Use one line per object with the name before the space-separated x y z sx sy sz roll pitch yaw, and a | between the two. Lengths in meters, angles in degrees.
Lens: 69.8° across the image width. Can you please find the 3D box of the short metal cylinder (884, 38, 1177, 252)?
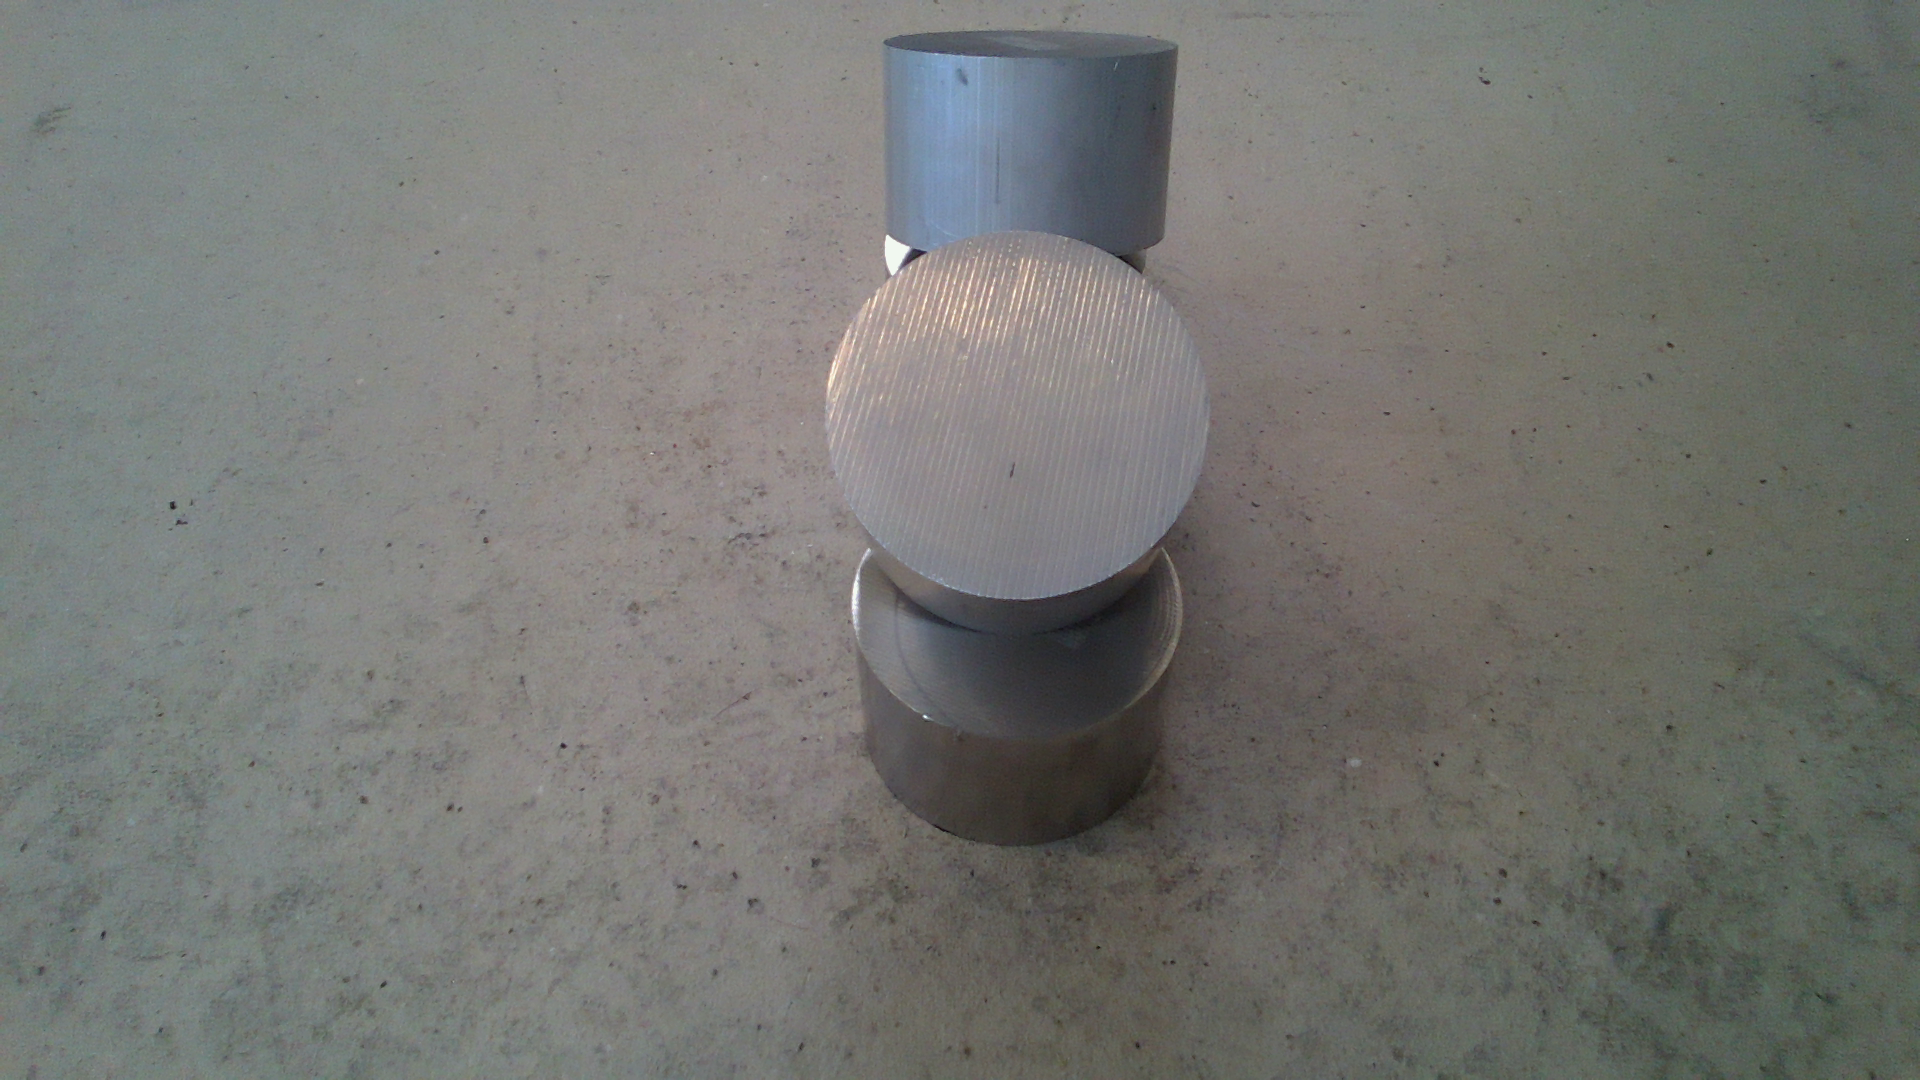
short metal cylinder | 0.019 -0.113 0.386 0.080 0.050 0.080 1 24 0

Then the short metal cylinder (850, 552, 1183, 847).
short metal cylinder | 0.014 0.030 0.350 0.080 0.050 0.080 0 50 0

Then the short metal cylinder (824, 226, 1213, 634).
short metal cylinder | 0.013 -0.022 0.308 0.080 0.050 0.080 0 78 1

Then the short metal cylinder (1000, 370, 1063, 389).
short metal cylinder | 0.015 -0.033 0.384 0.080 0.080 0.050 1 50 1

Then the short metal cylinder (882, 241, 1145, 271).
short metal cylinder | 0.016 -0.074 0.438 0.080 0.050 0.080 0 50 0
